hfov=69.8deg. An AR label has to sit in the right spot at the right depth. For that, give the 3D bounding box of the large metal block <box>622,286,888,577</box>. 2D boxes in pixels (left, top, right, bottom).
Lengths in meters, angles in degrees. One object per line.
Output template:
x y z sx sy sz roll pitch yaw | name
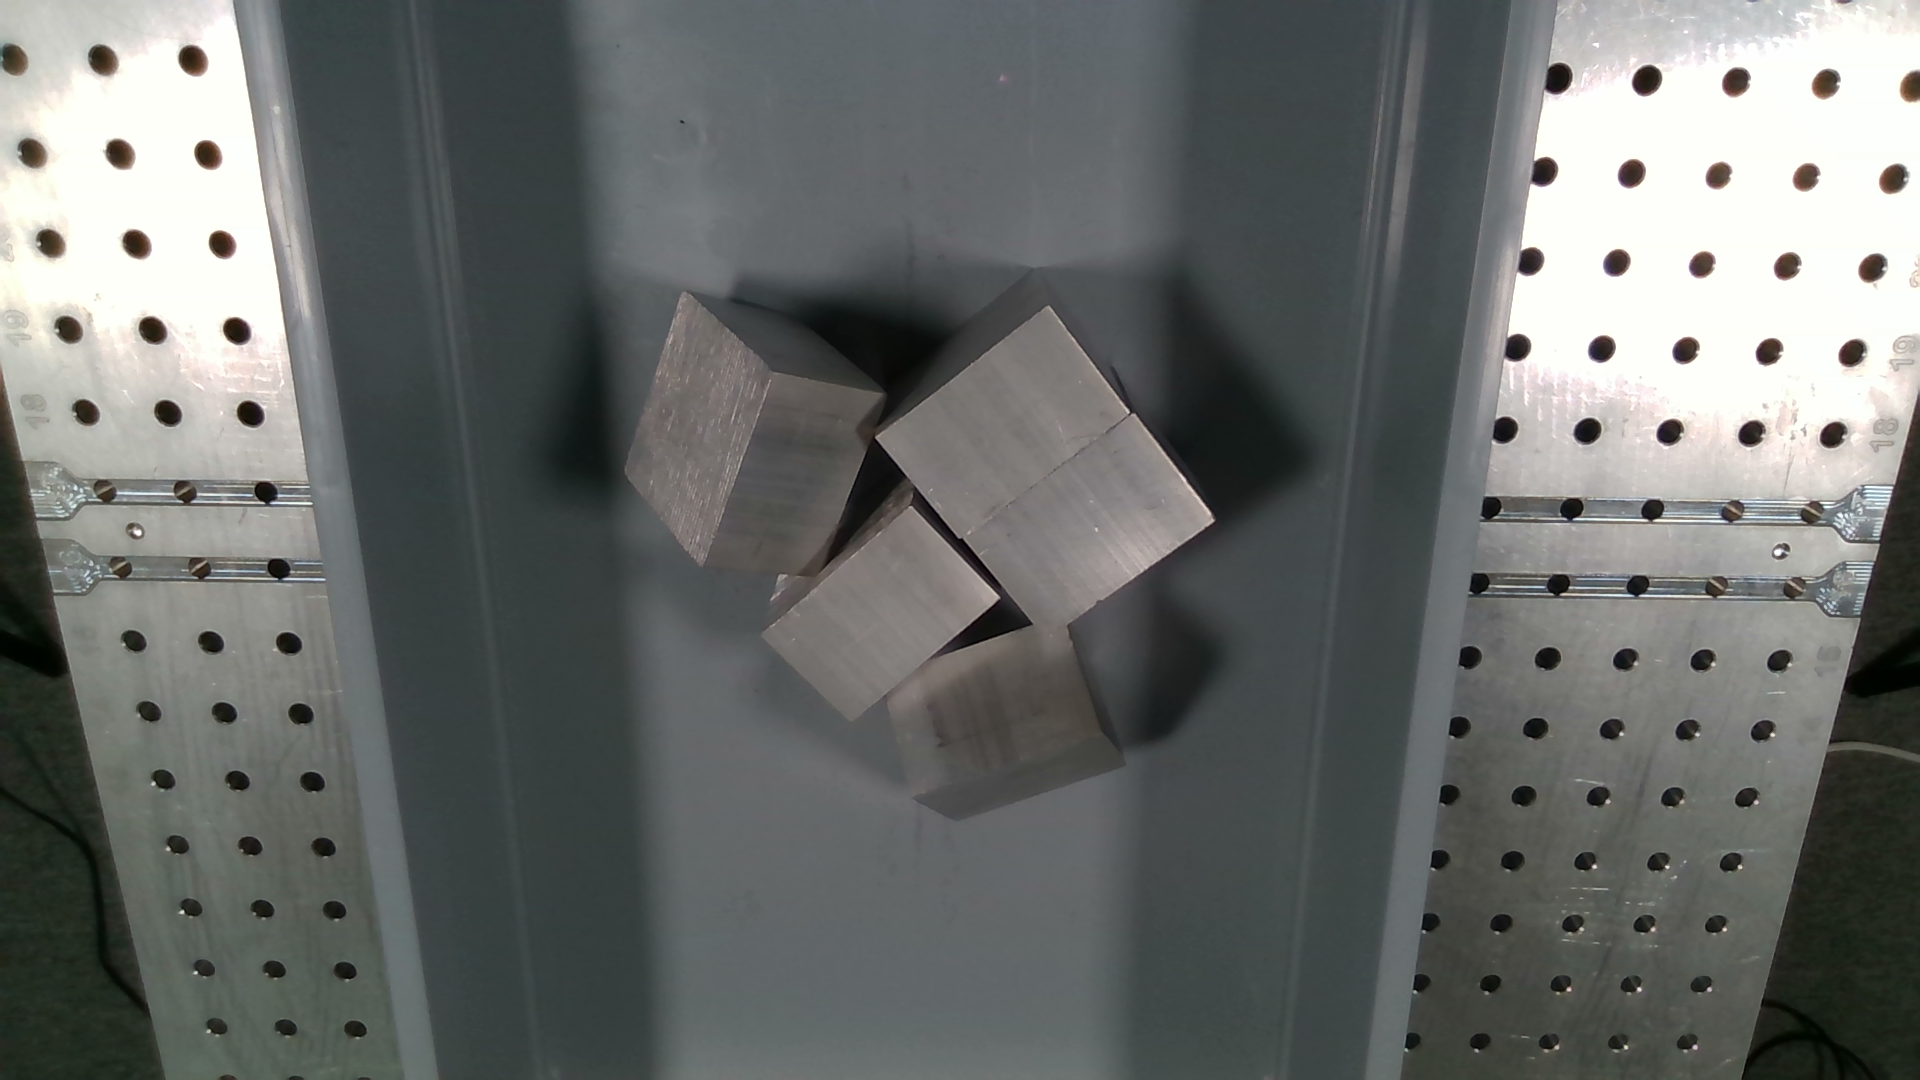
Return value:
-0.082 -0.042 0.532 0.050 0.080 0.080 7 115 -40 | large metal block

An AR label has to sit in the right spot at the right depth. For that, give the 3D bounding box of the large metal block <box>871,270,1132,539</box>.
0.015 -0.056 0.534 0.080 0.080 0.050 -36 106 12 | large metal block

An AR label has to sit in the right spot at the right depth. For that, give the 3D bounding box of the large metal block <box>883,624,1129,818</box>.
0.020 0.076 0.576 0.080 0.080 0.050 -20 69 7 | large metal block

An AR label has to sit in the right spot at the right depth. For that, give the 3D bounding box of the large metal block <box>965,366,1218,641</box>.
0.049 -0.017 0.548 0.080 0.080 0.050 -37 106 12 | large metal block

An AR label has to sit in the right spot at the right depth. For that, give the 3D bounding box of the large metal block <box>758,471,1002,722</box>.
-0.031 0.015 0.559 0.080 0.080 0.050 -40 105 13 | large metal block
